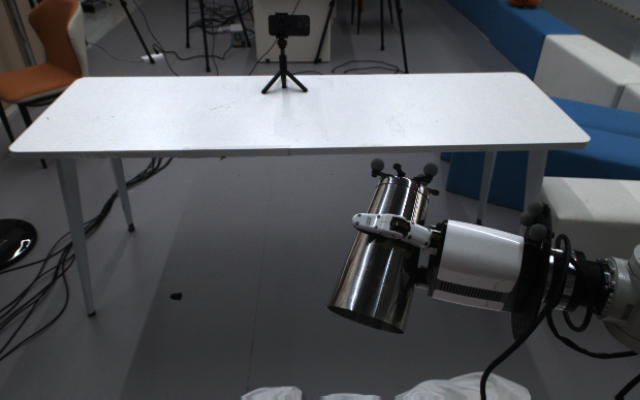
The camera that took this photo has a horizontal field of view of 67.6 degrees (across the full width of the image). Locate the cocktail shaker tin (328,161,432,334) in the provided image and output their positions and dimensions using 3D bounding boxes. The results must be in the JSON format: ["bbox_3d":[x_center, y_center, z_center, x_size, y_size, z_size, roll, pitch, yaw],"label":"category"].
[{"bbox_3d":[0.077,0.060,0.576,0.093,0.093,0.170,14,70,17],"label":"cocktail shaker tin"}]
